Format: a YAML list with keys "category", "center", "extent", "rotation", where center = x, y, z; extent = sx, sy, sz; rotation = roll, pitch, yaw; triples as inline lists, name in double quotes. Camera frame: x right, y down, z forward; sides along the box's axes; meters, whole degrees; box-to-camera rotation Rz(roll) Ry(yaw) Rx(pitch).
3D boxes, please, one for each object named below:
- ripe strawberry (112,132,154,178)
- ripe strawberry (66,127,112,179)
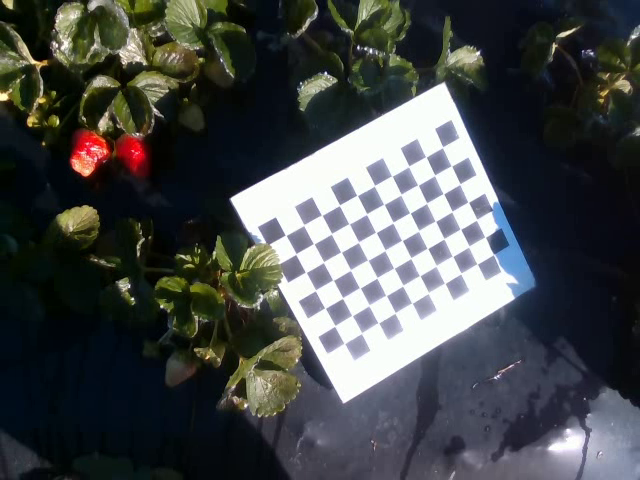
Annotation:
- category: "ripe strawberry"
  center: [-0.237, -0.109, 0.838]
  extent: [0.043, 0.059, 0.040]
  rotation: [-29, 4, -10]
- category: "ripe strawberry"
  center: [-0.291, -0.107, 0.836]
  extent: [0.052, 0.070, 0.040]
  rotation: [19, -8, -20]
